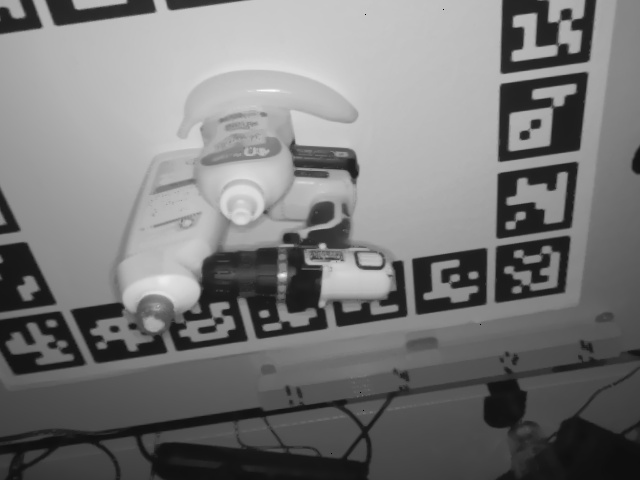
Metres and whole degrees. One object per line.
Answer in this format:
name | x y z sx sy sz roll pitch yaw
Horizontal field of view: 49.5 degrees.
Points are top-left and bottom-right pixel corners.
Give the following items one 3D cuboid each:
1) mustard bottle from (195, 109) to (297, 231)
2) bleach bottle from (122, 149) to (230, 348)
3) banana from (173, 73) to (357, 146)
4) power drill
mustard bottle | -0.071 -0.066 0.677 0.096 0.192 0.058 -6 123 1
bleach bottle | -0.133 0.003 0.687 0.103 0.252 0.067 -5 129 -2
banana | -0.059 -0.140 0.733 0.198 0.039 0.073 -4 122 -5
power drill | -0.022 -0.001 0.699 0.185 0.188 0.057 4 124 -6
